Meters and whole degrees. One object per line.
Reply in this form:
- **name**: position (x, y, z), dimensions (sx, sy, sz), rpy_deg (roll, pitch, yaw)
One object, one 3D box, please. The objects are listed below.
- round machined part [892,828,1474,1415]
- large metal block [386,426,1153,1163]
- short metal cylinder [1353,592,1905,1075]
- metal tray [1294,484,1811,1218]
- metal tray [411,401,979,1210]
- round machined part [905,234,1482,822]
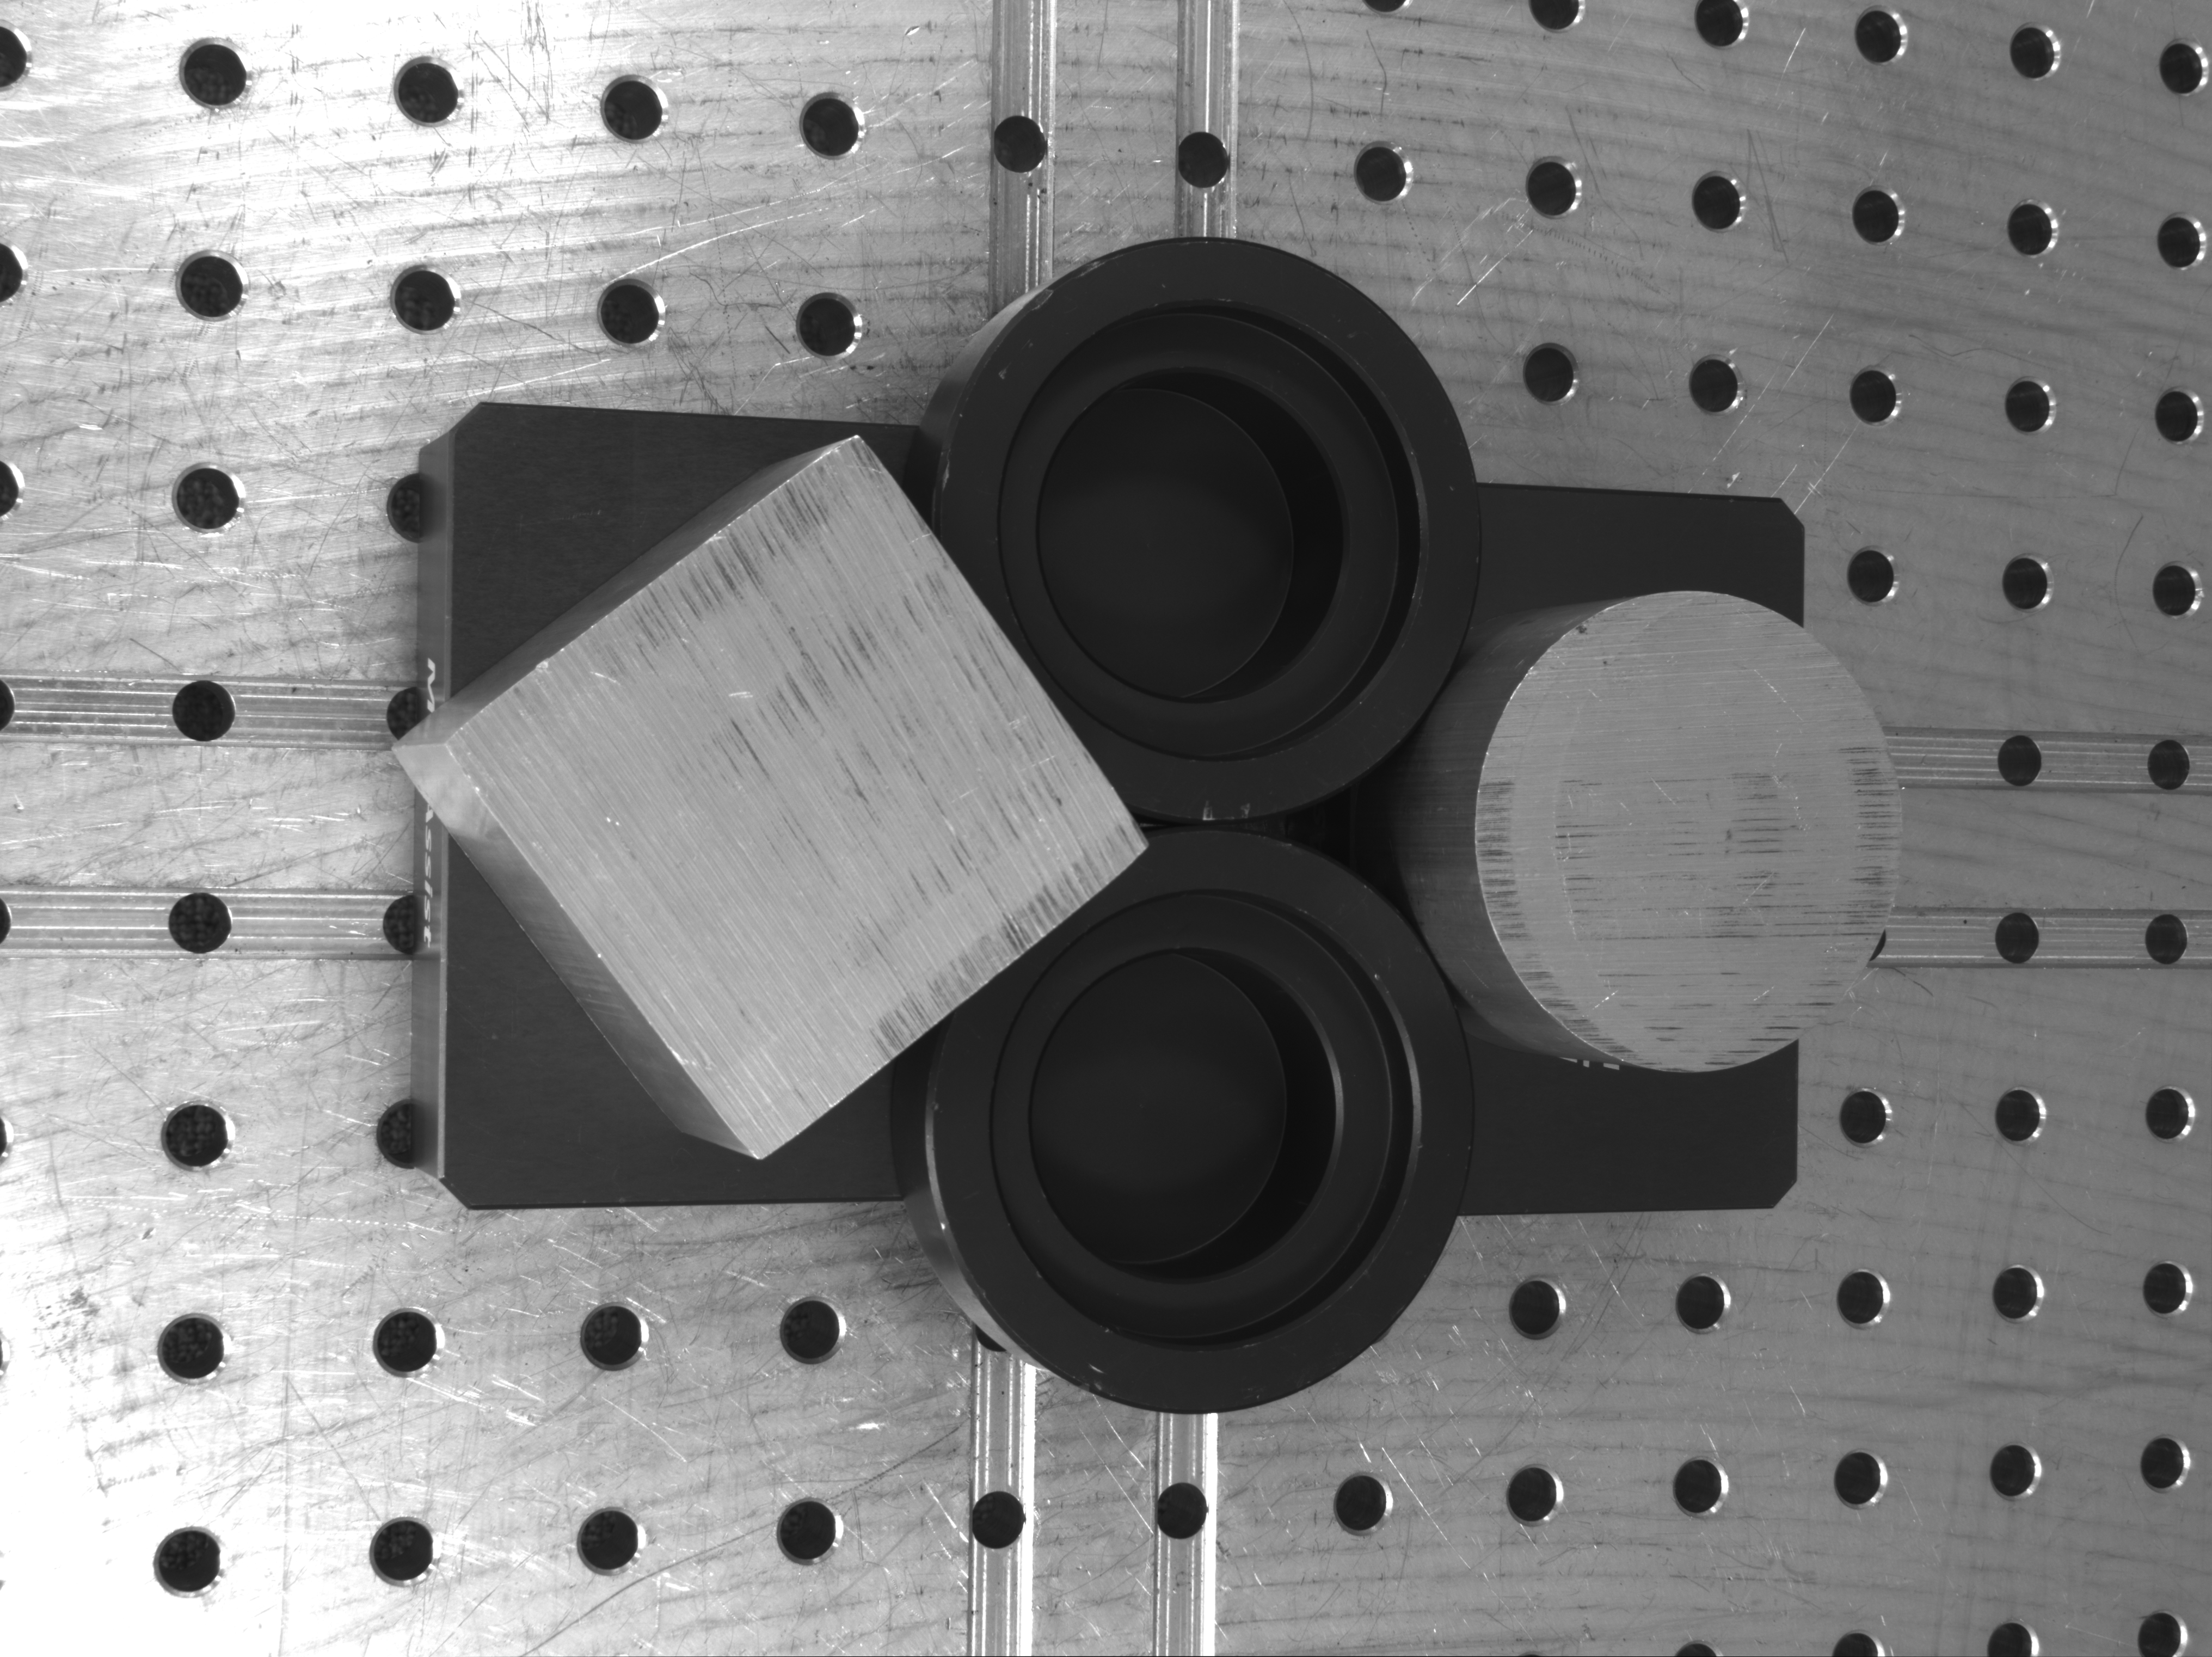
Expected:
- **round machined part**: position (0.010, 0.049, 0.631), dimensions (0.098, 0.042, 0.098), rpy_deg (0, 90, -20)
- **large metal block**: position (-0.054, -0.005, 0.581), dimensions (0.080, 0.050, 0.080), rpy_deg (-38, 102, -15)
- **short metal cylinder**: position (0.089, 0.001, 0.632), dimensions (0.080, 0.050, 0.080), rpy_deg (0, 90, -20)
- **metal tray**: position (0.081, 0.004, 0.671), dimensions (0.090, 0.030, 0.130), rpy_deg (1, 90, -20)
- **metal tray**: position (-0.069, -0.003, 0.618), dimensions (0.090, 0.030, 0.130), rpy_deg (1, 90, -21)
- **round machined part**: position (0.012, -0.050, 0.632), dimensions (0.098, 0.042, 0.098), rpy_deg (0, 90, -20)
